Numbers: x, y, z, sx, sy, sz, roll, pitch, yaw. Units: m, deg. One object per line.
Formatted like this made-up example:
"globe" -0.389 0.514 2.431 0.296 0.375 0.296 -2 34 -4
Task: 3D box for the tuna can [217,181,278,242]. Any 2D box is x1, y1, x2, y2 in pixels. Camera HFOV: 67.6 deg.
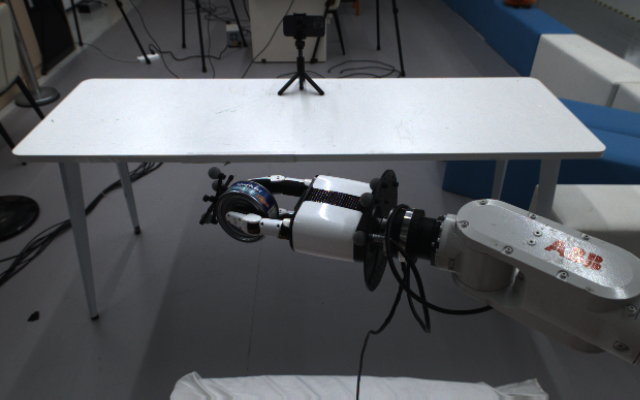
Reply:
"tuna can" -0.101 0.019 0.681 0.085 0.085 0.034 12 31 14
